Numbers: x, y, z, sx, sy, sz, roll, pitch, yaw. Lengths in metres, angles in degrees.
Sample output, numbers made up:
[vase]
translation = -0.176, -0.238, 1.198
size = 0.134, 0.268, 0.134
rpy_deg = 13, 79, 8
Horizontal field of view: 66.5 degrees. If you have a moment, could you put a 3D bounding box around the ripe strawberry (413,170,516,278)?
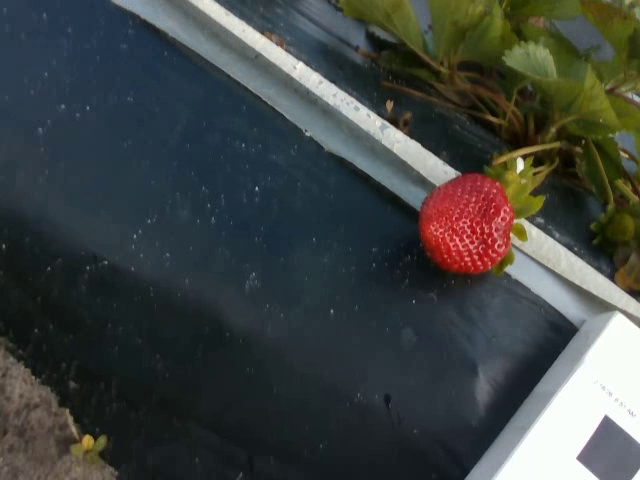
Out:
[ripe strawberry]
translation = 0.053, -0.006, 0.179
size = 0.052, 0.048, 0.030
rpy_deg = 3, -18, -36
